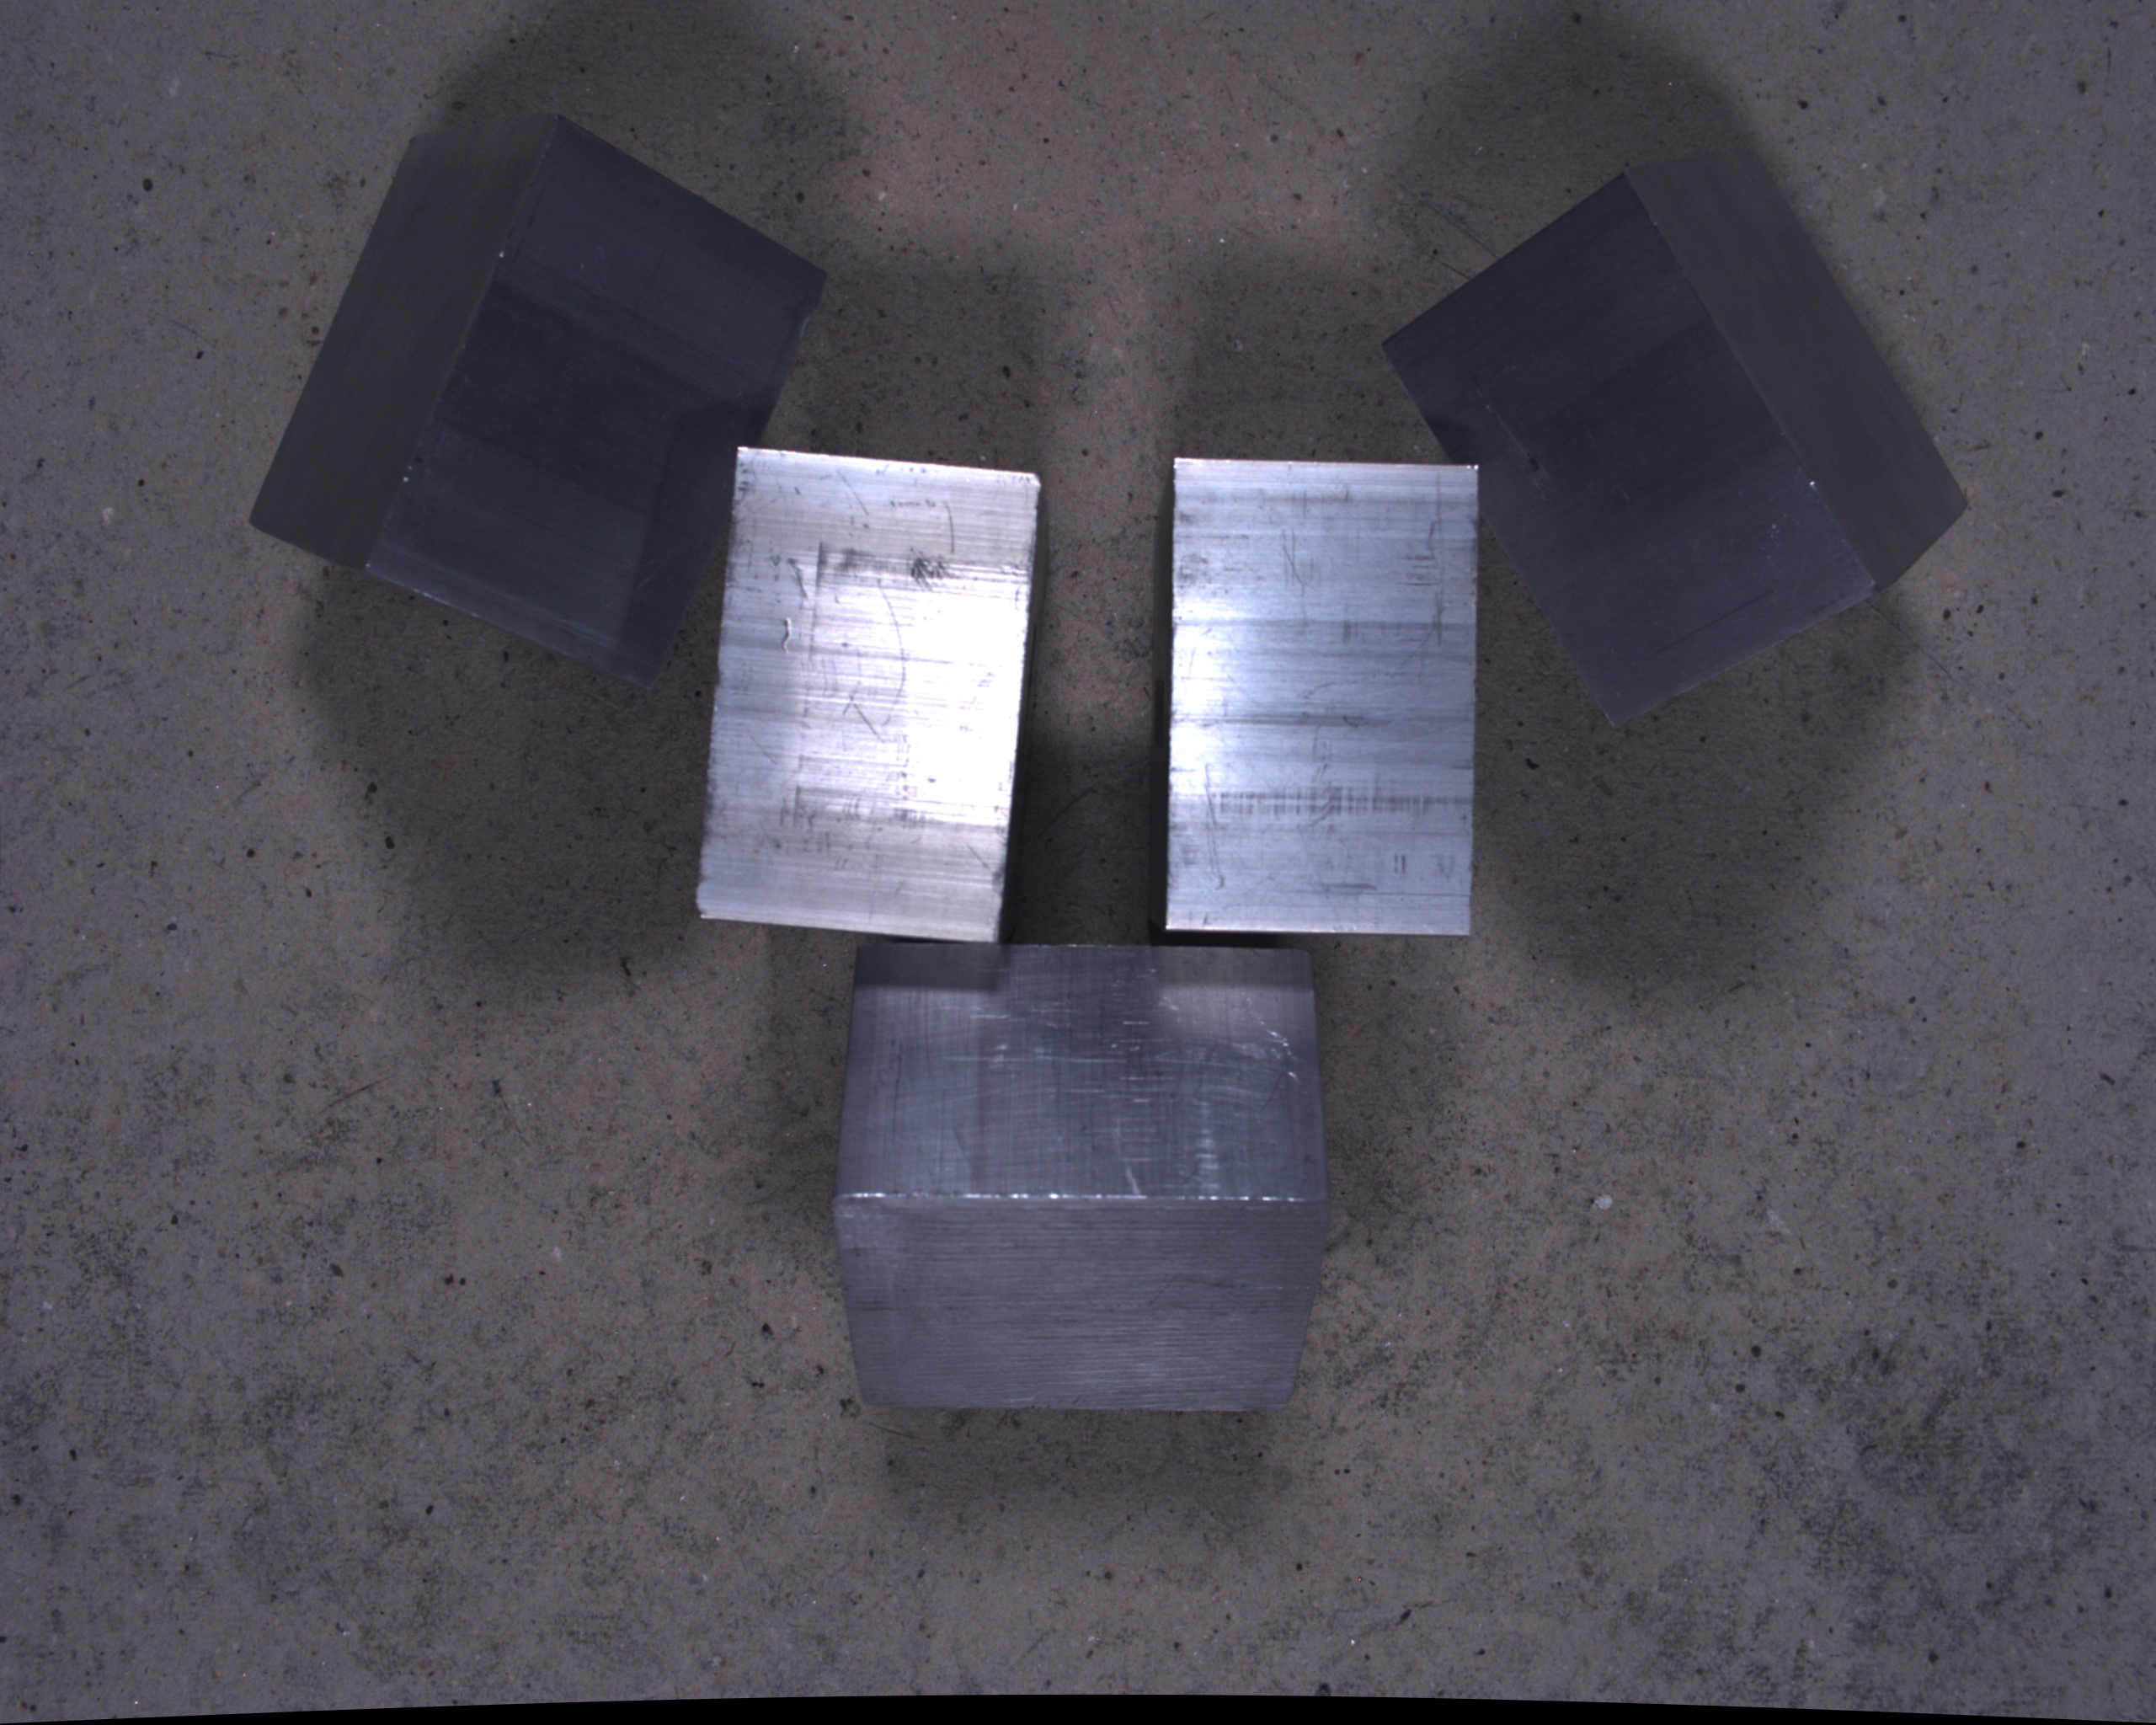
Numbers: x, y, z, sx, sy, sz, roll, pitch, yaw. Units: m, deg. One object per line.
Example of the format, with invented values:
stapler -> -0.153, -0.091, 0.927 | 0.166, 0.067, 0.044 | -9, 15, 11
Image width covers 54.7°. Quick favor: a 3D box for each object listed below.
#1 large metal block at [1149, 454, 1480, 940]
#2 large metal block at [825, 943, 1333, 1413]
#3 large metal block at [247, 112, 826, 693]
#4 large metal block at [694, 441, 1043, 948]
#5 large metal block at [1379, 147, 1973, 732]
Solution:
large metal block -> 0.041, -0.028, 0.384 | 0.050, 0.080, 0.079 | 1, 90, 0
large metal block -> 0.000, 0.059, 0.378 | 0.081, 0.080, 0.050 | 1, 51, 0
large metal block -> -0.099, -0.082, 0.373 | 0.050, 0.080, 0.080 | 23, 90, -36
large metal block -> -0.035, -0.028, 0.383 | 0.050, 0.080, 0.079 | 5, 90, 0
large metal block -> 0.111, -0.079, 0.379 | 0.050, 0.080, 0.080 | -31, 90, 37
